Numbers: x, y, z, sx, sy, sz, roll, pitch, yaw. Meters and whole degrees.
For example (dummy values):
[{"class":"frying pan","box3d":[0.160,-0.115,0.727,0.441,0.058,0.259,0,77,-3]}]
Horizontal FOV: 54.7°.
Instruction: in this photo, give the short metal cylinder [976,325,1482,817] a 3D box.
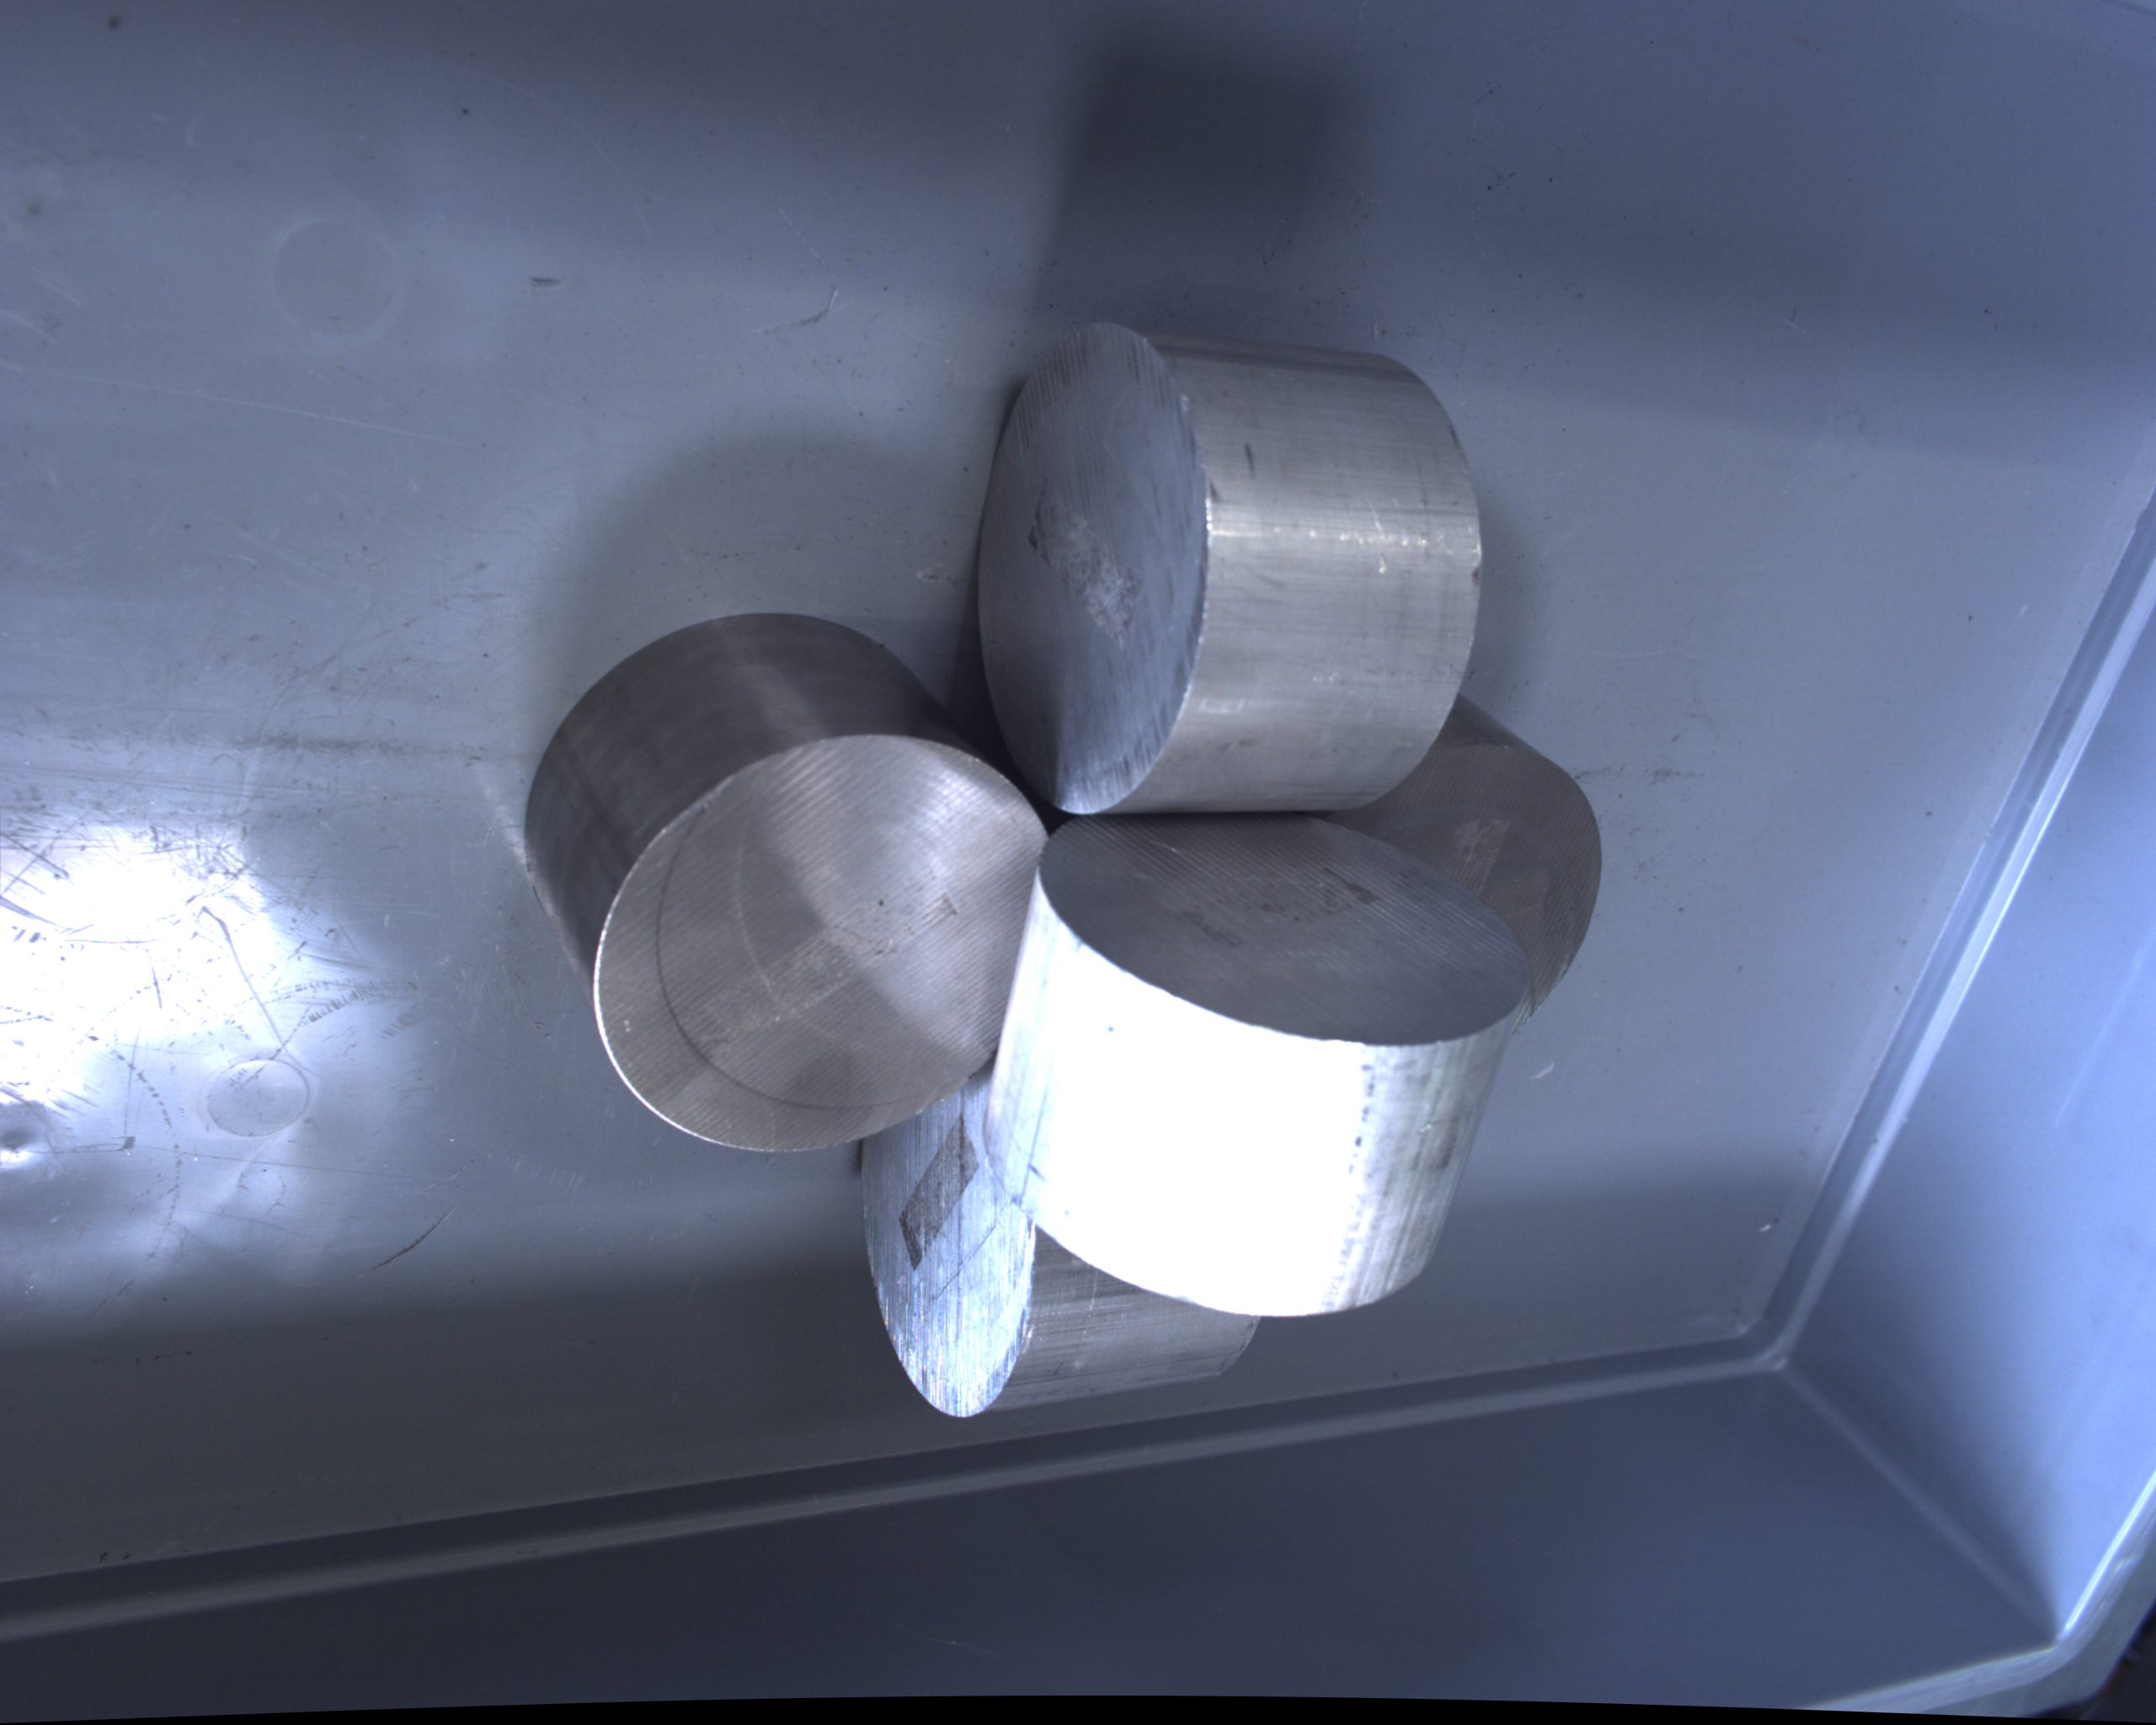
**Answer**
[{"class":"short metal cylinder","box3d":[0.023,-0.048,0.353,0.050,0.080,0.079,-2,120,-28]}]

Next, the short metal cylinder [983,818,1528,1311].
[{"class":"short metal cylinder","box3d":[0.028,0.029,0.347,0.081,0.080,0.050,-1,119,-28]}]

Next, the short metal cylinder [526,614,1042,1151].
[{"class":"short metal cylinder","box3d":[-0.050,0.003,0.364,0.081,0.050,0.079,-14,124,-21]}]

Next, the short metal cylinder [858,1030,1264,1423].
[{"class":"short metal cylinder","box3d":[-0.004,0.065,0.408,0.050,0.080,0.079,-2,120,-28]}]

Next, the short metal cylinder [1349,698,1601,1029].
[{"class":"short metal cylinder","box3d":[0.057,0.001,0.421,0.081,0.050,0.079,-14,124,-21]}]
